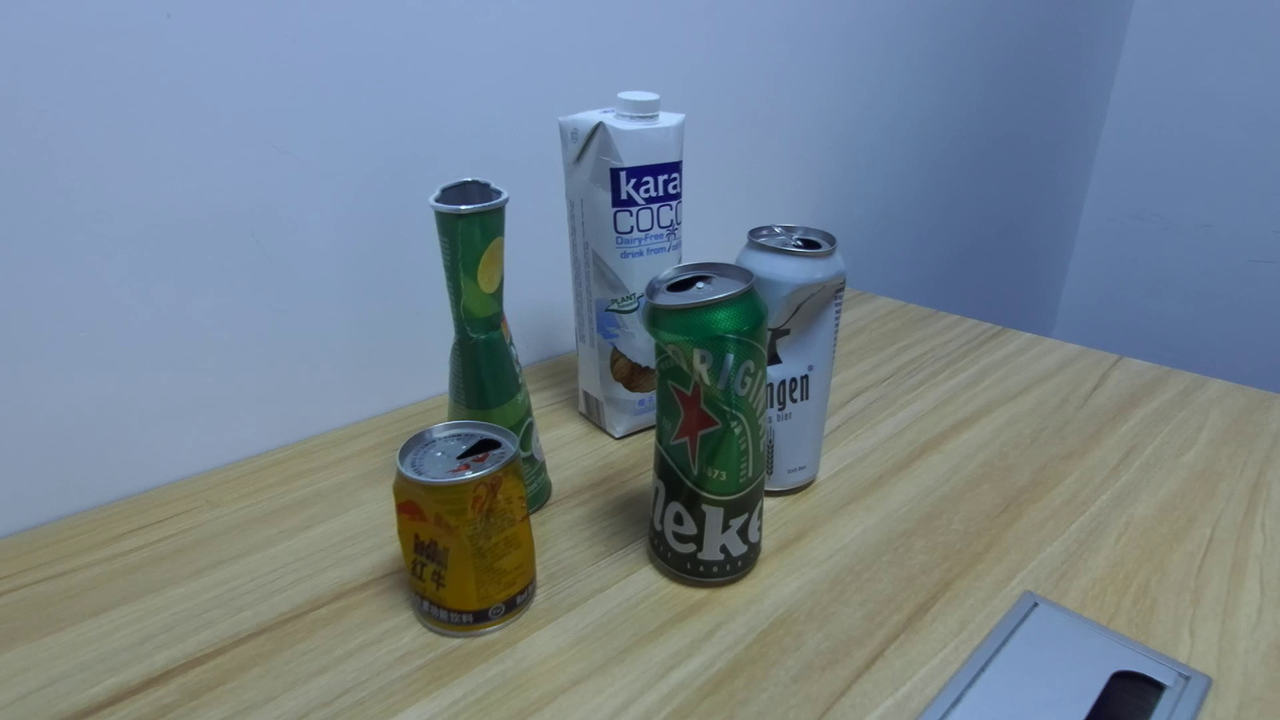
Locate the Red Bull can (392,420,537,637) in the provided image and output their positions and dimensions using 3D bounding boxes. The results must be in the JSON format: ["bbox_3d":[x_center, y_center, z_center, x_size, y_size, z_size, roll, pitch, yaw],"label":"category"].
[{"bbox_3d":[-0.088,0.085,0.365,0.072,0.092,0.072,-1,23,1],"label":"Red Bull can"}]

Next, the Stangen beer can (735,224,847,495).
[{"bbox_3d":[0.091,0.001,0.454,0.070,0.173,0.070,5,24,12],"label":"Stangen beer can"}]

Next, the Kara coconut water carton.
[{"bbox_3d":[-0.010,-0.069,0.527,0.077,0.245,0.075,-14,25,-28],"label":"Kara coconut water carton"}]

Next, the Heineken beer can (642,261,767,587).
[{"bbox_3d":[0.034,0.037,0.380,0.069,0.168,0.068,6,25,22],"label":"Heineken beer can"}]

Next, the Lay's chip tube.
[{"bbox_3d":[-0.096,-0.002,0.437,0.074,0.199,0.069,17,30,36],"label":"Lay's chip tube"}]
